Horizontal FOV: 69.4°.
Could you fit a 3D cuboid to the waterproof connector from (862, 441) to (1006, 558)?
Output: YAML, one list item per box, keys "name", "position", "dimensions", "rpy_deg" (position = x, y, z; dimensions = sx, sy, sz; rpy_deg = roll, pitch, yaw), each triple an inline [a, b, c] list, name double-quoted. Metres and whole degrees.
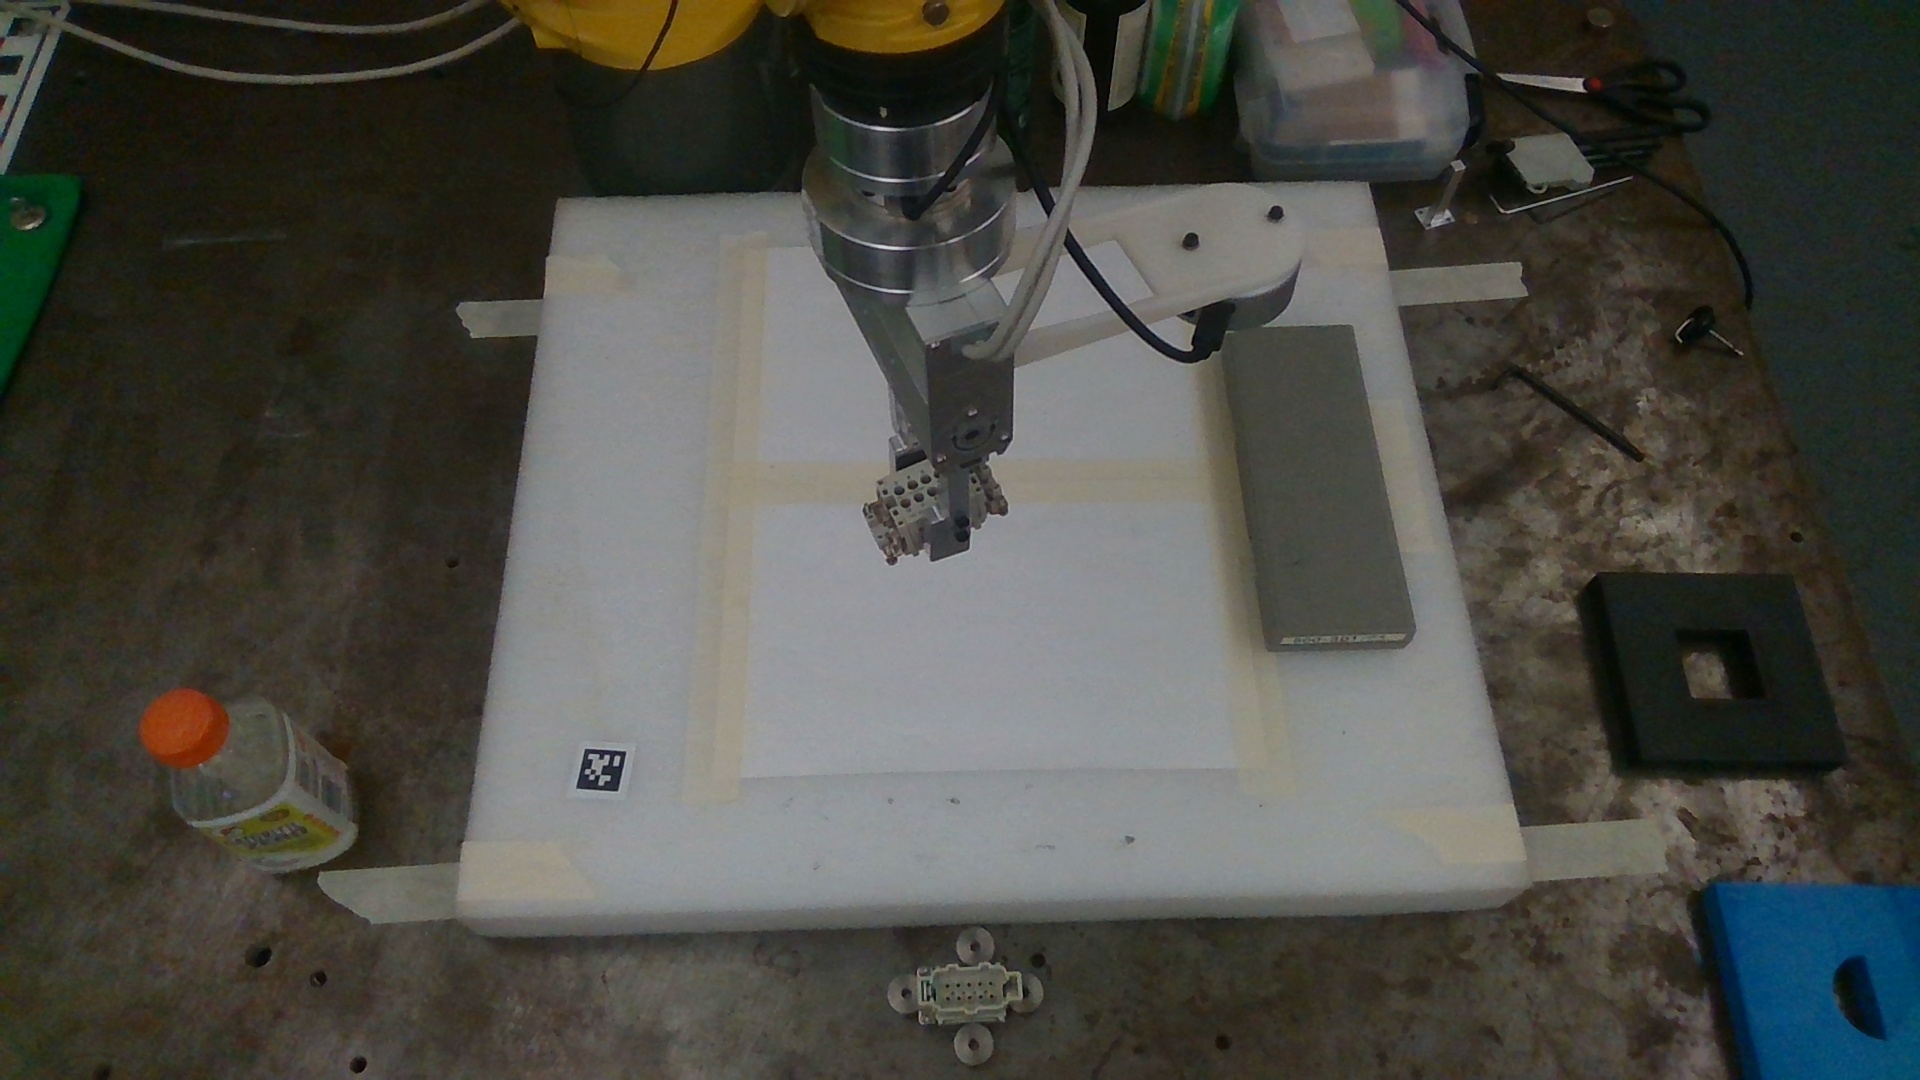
- name: "waterproof connector"
  position: [-0.013, -0.018, 0.680]
  dimensions: [0.069, 0.038, 0.037]
  rpy_deg: [-25, 59, -2]
